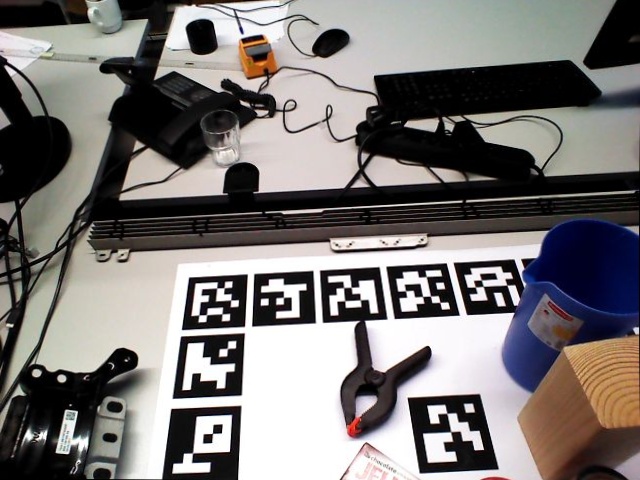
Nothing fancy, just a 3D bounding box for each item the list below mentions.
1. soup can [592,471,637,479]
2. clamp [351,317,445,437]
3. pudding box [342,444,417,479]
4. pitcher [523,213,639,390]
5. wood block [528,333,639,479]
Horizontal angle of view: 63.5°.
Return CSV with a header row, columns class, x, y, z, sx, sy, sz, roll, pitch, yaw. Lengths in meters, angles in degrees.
class,x,y,z,sx,sy,sz,roll,pitch,yaw
soup can,0.308,0.298,0.559,0.068,0.102,0.067,-3,53,3
clamp,0.093,0.195,0.721,0.122,0.037,0.164,24,57,14
pudding box,0.075,0.316,0.615,0.114,0.039,0.089,27,61,26
pitcher,0.339,0.091,0.640,0.189,0.243,0.132,-6,48,4
wood block,0.319,0.195,0.575,0.090,0.207,0.090,-4,50,-2
